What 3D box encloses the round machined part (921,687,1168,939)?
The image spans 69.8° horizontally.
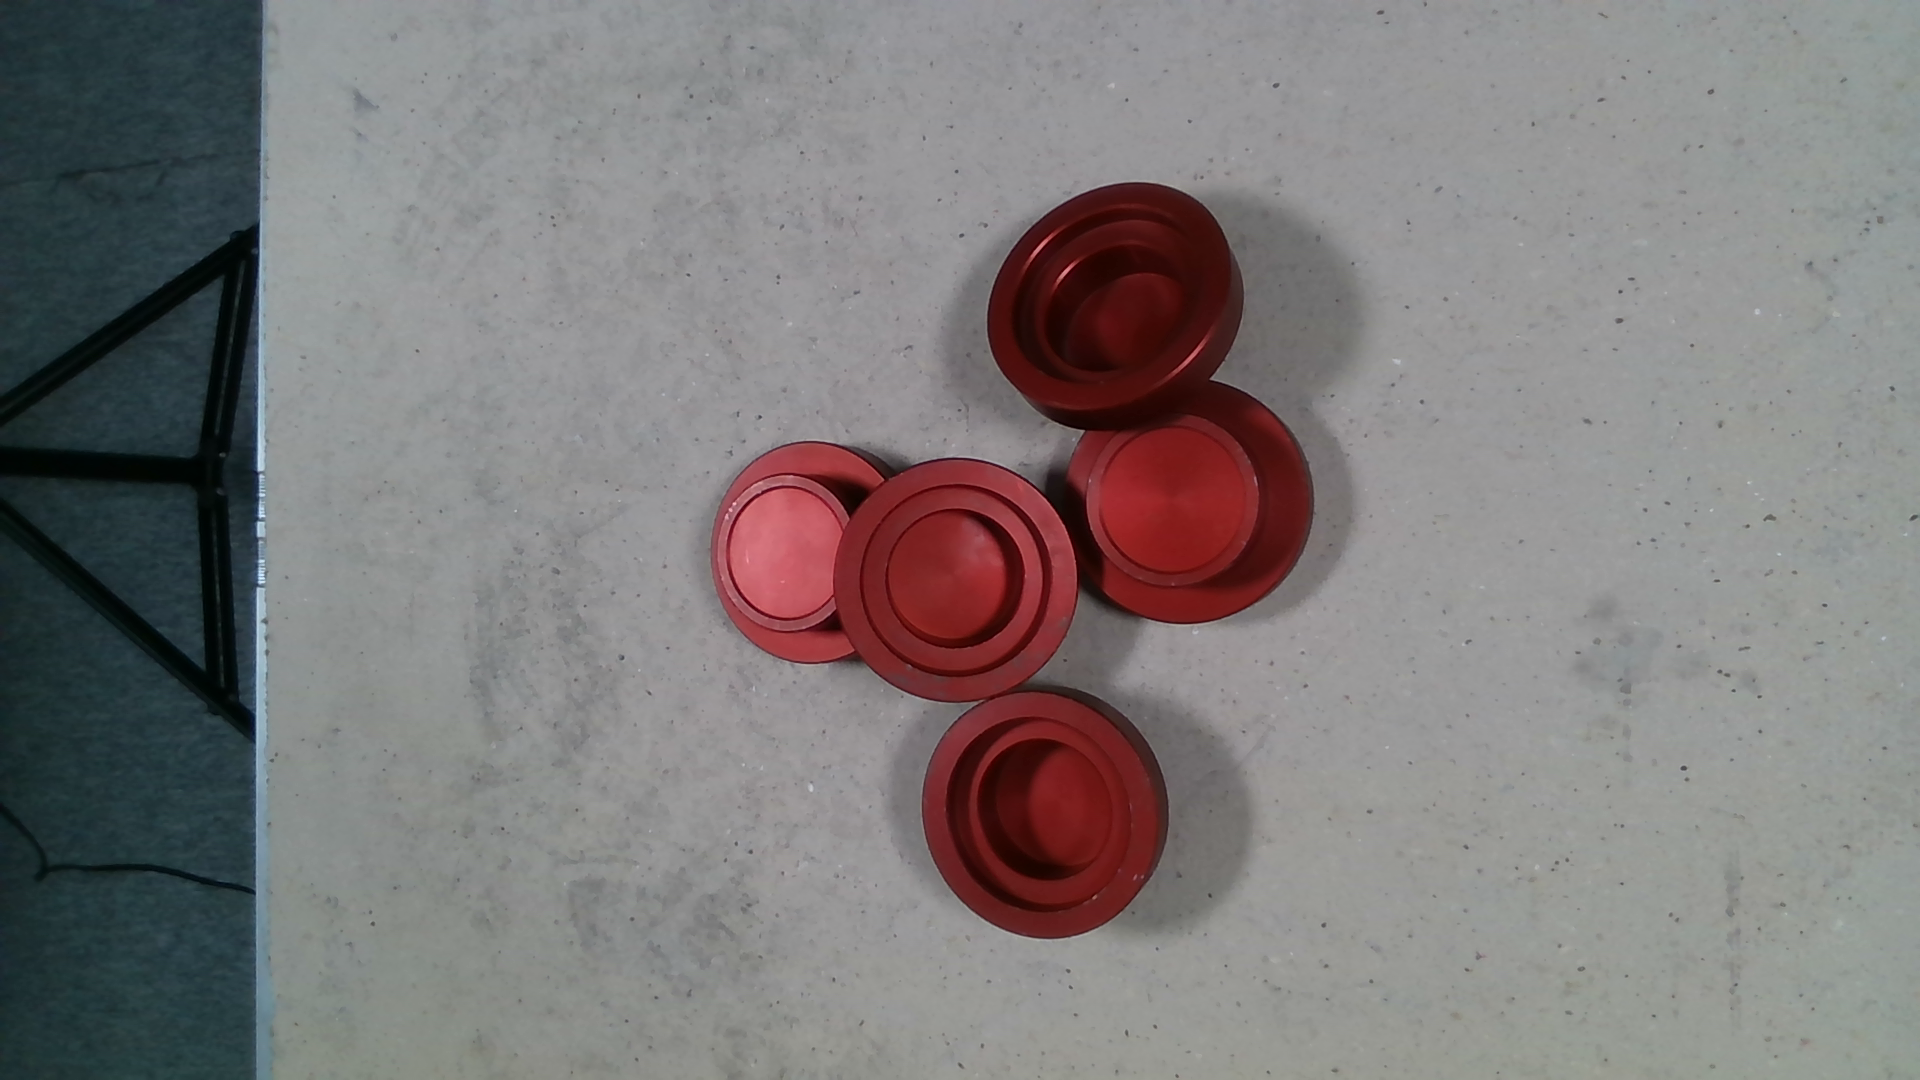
[{"bbox_3d":[0.037,0.109,0.564,0.098,0.042,0.098,0,91,20],"label":"round machined part"}]

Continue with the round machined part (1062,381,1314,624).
[{"bbox_3d":[0.087,-0.015,0.544,0.098,0.042,0.098,0,91,20],"label":"round machined part"}]

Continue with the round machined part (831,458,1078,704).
[{"bbox_3d":[-0.003,0.015,0.567,0.098,0.042,0.098,0,93,-3],"label":"round machined part"}]

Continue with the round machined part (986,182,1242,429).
[{"bbox_3d":[0.063,-0.087,0.541,0.098,0.042,0.098,-11,65,23],"label":"round machined part"}]

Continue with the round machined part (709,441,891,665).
[{"bbox_3d":[-0.067,0.006,0.601,0.098,0.042,0.098,0,91,20],"label":"round machined part"}]
